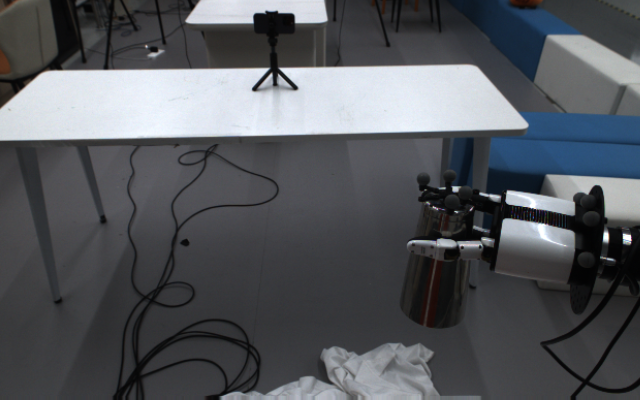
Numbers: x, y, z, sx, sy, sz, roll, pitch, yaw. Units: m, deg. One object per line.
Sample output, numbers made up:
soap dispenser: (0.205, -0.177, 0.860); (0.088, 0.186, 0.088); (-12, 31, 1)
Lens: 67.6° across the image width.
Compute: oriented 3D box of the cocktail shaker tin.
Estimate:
cocktail shaker tin: (0.166, 0.074, 0.661); (0.093, 0.170, 0.093); (1, 27, -1)
